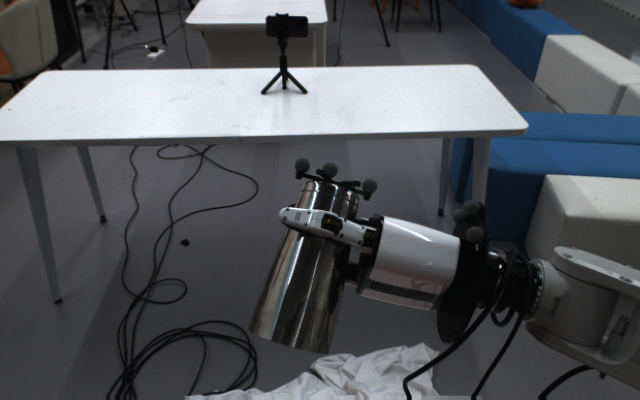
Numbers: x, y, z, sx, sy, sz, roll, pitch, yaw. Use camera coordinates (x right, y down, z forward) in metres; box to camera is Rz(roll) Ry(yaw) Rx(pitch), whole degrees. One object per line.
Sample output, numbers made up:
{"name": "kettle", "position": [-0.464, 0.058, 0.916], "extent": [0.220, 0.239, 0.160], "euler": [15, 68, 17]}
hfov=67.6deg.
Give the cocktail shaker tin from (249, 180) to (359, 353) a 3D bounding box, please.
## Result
{"name": "cocktail shaker tin", "position": [-0.006, 0.068, 0.531], "extent": [0.093, 0.093, 0.170], "euler": [13, 79, 15]}
